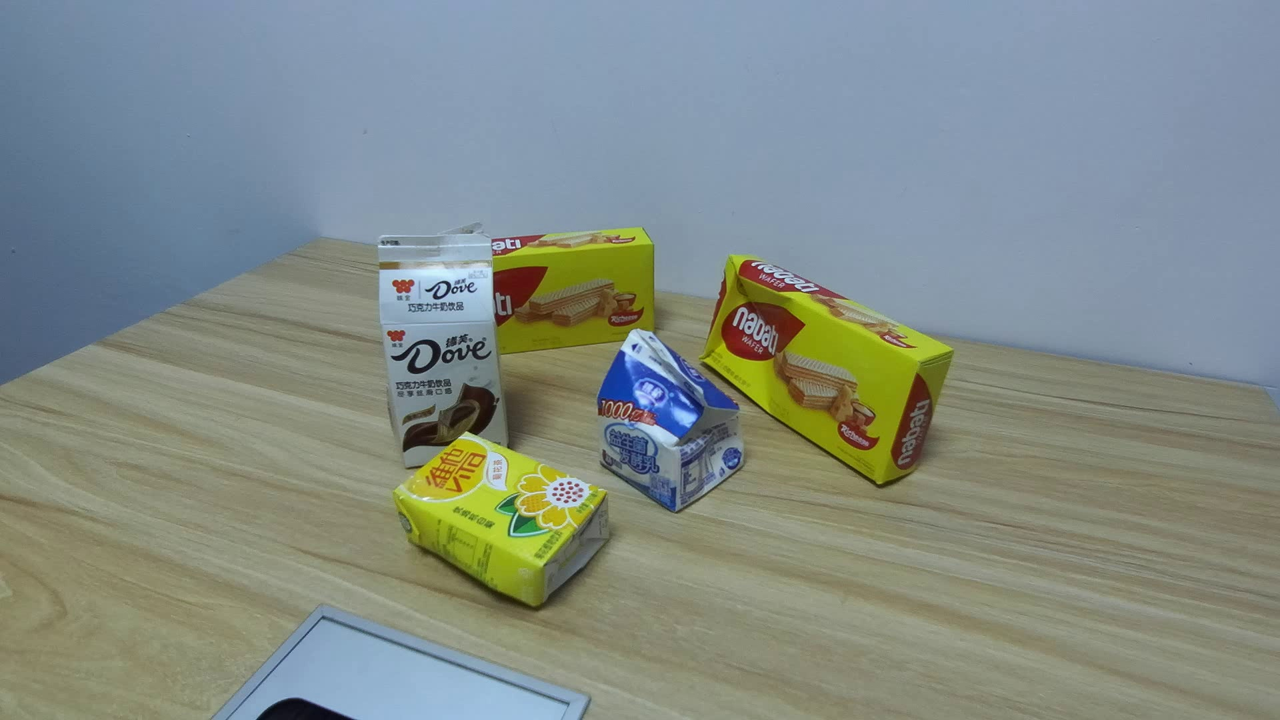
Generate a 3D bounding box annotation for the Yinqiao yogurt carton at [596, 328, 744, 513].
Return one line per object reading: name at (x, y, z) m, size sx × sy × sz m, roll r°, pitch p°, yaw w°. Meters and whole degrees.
Yinqiao yogurt carton at (0.019, 0.031, 0.466) m, size 0.077 × 0.093 × 0.083 m, roll -26°, pitch 39°, yaw -37°

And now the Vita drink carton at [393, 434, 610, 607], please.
Vita drink carton at (-0.082, 0.094, 0.413) m, size 0.108 × 0.043 × 0.076 m, roll 18°, pitch 39°, yaw 25°

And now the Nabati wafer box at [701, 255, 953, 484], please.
Nabati wafer box at (0.122, -0.003, 0.522) m, size 0.042 × 0.096 × 0.202 m, roll -10°, pitch 32°, yaw -35°

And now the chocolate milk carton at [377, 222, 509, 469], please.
chocolate milk carton at (-0.136, -0.012, 0.481) m, size 0.084 × 0.155 × 0.073 m, roll -7°, pitch 32°, yaw -12°

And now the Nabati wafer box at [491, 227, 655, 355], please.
Nabati wafer box at (-0.087, -0.058, 0.620) m, size 0.203 × 0.093 × 0.042 m, roll -6°, pitch 29°, yaw -9°
